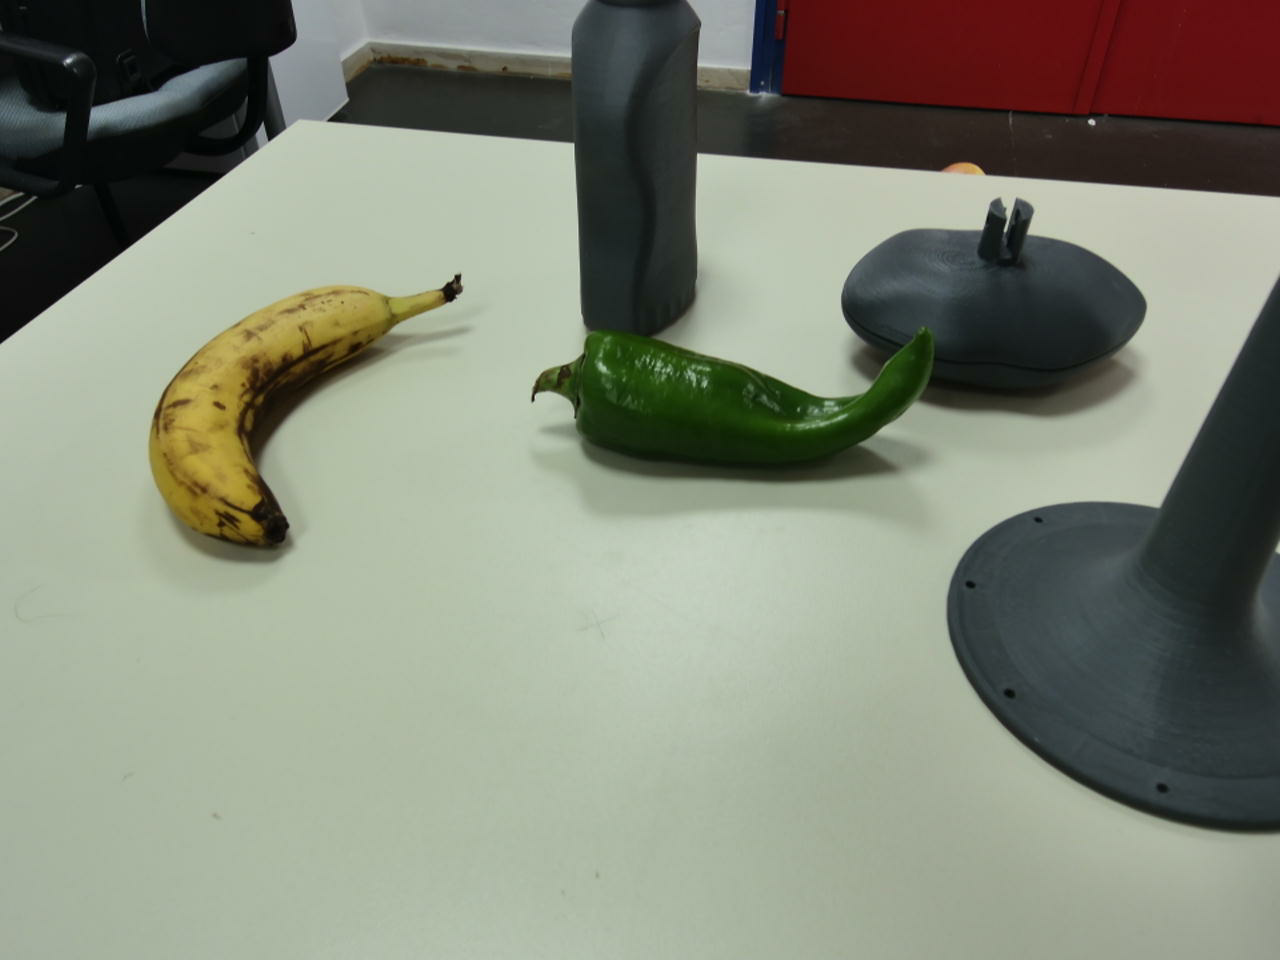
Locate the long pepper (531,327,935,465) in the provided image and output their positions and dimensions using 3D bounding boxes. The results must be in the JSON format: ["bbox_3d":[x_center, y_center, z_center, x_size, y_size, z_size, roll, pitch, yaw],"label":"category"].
[{"bbox_3d":[0.036,-0.041,0.439,0.175,0.065,0.058,7,39,10],"label":"long pepper"}]
